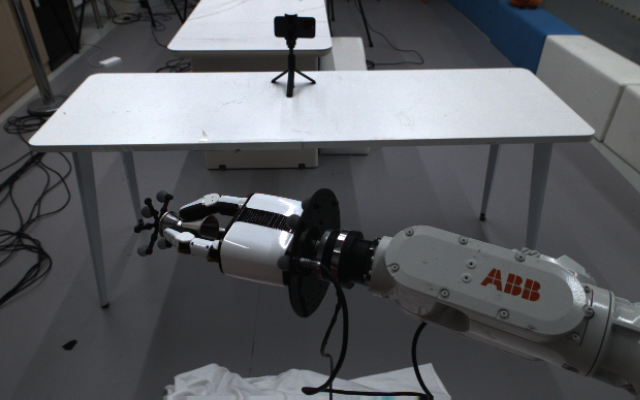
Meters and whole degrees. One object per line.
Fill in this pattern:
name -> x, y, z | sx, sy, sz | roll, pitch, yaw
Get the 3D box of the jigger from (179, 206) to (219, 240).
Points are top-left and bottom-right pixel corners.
jigger -> -0.172, 0.035, 0.653 | 0.071, 0.043, 0.043 | 6, 34, 22
